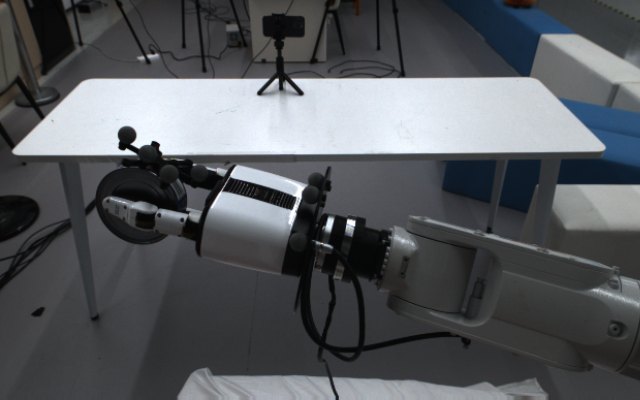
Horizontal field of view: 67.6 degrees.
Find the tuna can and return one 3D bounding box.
[{"bbox_3d":[-0.183,0.006,0.504,0.085,0.085,0.034,4,20,3],"label":"tuna can"}]
